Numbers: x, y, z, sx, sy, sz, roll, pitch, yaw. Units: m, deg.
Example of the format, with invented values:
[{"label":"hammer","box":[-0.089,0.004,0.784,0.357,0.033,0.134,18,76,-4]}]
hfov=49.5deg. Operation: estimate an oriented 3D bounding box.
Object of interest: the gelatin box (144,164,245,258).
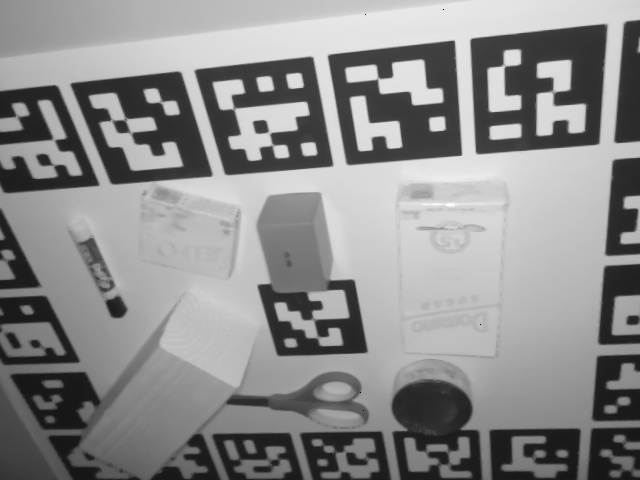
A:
[{"label":"gelatin box","box":[-0.122,-0.027,0.673,0.089,0.030,0.072,12,121,0]}]

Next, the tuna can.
[{"label":"tuna can","box":[0.126,0.158,0.748,0.085,0.034,0.085,3,121,6]}]

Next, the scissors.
[{"label":"scissors","box":[-0.041,0.169,0.790,0.203,0.016,0.087,2,121,4]}]

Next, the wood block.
[{"label":"wood block","box":[-0.170,0.140,0.749,0.090,0.092,0.203,34,120,-13]}]

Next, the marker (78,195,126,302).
[{"label":"marker","box":[-0.223,0.011,0.714,0.019,0.020,0.120,-3,119,10]}]

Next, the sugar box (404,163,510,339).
[{"label":"sugar box","box":[0.126,0.014,0.658,0.092,0.046,0.175,1,121,8]}]

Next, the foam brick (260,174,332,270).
[{"label":"foam brick","box":[-0.021,-0.017,0.648,0.052,0.052,0.077,-2,120,9]}]
